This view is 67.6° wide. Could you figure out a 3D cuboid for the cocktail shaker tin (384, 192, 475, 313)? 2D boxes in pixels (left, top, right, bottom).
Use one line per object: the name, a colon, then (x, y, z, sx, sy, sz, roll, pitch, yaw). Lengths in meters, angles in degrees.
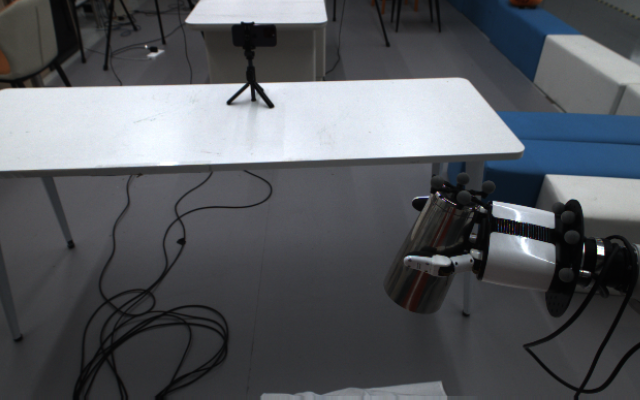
cocktail shaker tin: (0.163, 0.063, 0.683, 0.093, 0.170, 0.093, 12, 29, -7)
